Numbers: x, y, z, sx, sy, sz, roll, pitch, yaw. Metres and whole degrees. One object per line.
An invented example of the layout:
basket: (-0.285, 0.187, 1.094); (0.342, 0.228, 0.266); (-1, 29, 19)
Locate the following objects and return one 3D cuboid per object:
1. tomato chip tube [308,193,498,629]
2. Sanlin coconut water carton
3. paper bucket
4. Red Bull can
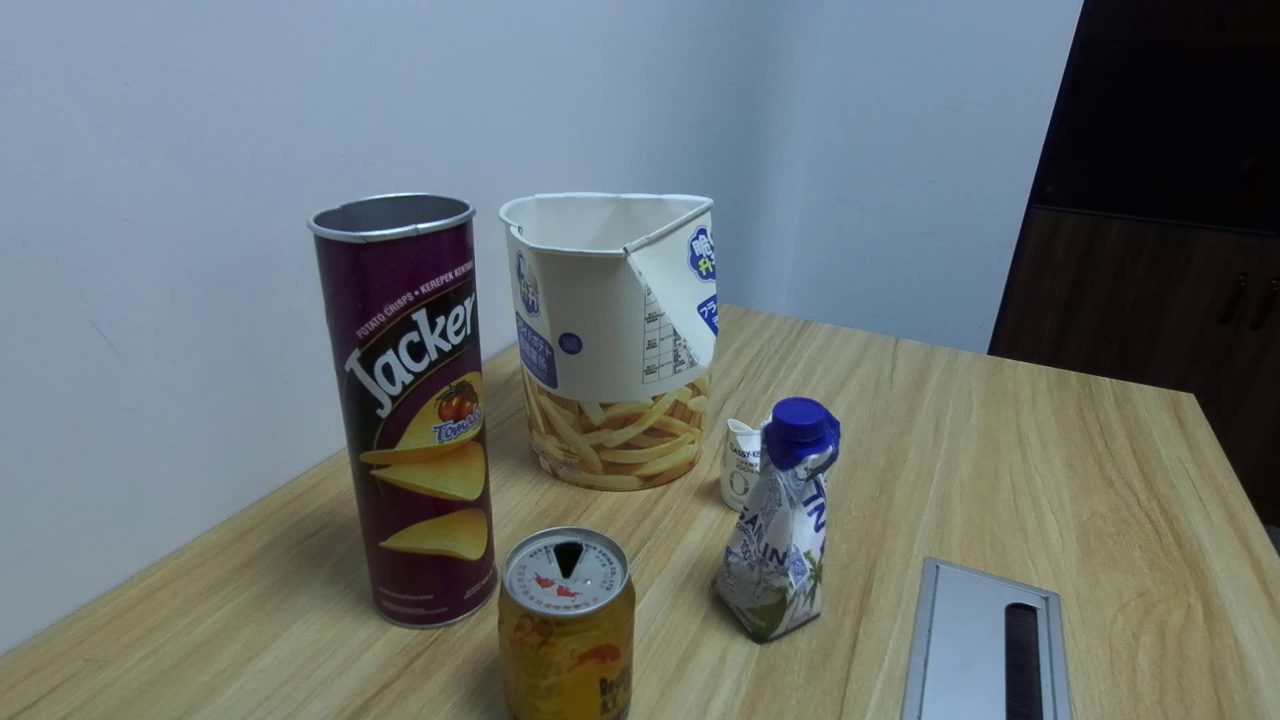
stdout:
tomato chip tube: (-0.123, 0.034, 0.393); (0.080, 0.234, 0.076); (-12, 29, -28)
Sanlin coconut water carton: (0.091, 0.090, 0.405); (0.069, 0.144, 0.056); (-5, 31, -33)
paper bucket: (-0.016, -0.014, 0.549); (0.169, 0.202, 0.162); (-2, 27, -4)
Red Bull can: (-0.035, 0.138, 0.348); (0.068, 0.093, 0.068); (2, 23, -1)
